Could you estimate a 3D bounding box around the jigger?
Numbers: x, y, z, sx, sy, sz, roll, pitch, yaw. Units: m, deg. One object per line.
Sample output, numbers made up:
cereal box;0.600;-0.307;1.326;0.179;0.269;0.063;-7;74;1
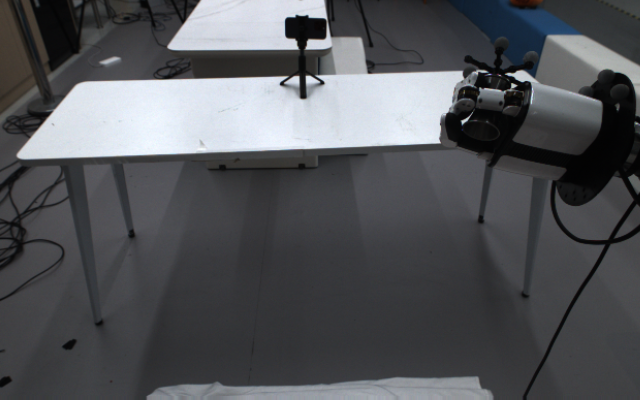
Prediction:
jigger;0.203;-0.113;0.580;0.043;0.043;0.071;15;70;18
